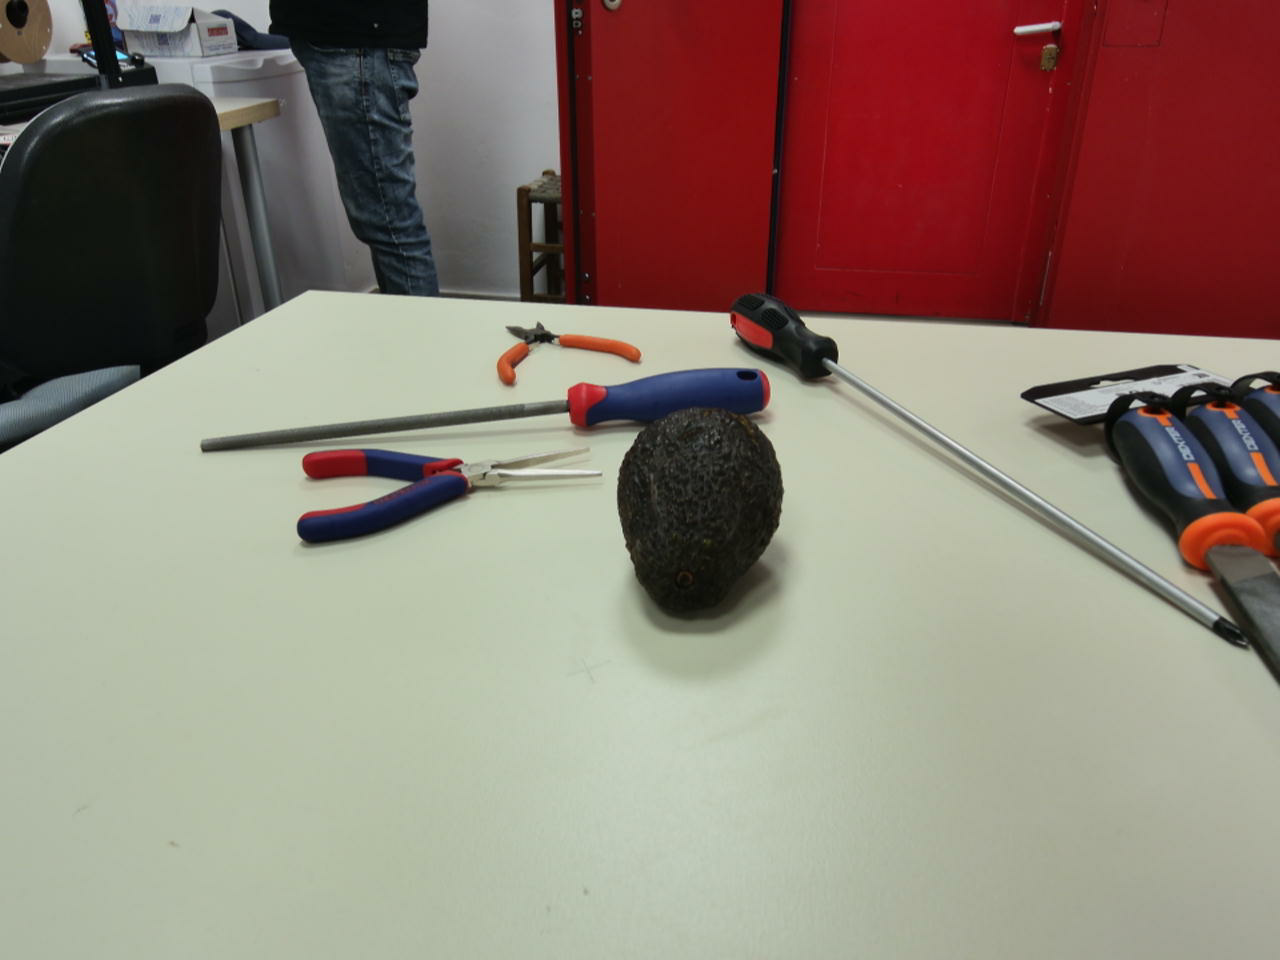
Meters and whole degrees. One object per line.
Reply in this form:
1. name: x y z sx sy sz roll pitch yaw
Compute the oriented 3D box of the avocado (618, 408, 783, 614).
1. avocado: 0.022 0.007 0.414 0.070 0.069 0.090 17 29 34
